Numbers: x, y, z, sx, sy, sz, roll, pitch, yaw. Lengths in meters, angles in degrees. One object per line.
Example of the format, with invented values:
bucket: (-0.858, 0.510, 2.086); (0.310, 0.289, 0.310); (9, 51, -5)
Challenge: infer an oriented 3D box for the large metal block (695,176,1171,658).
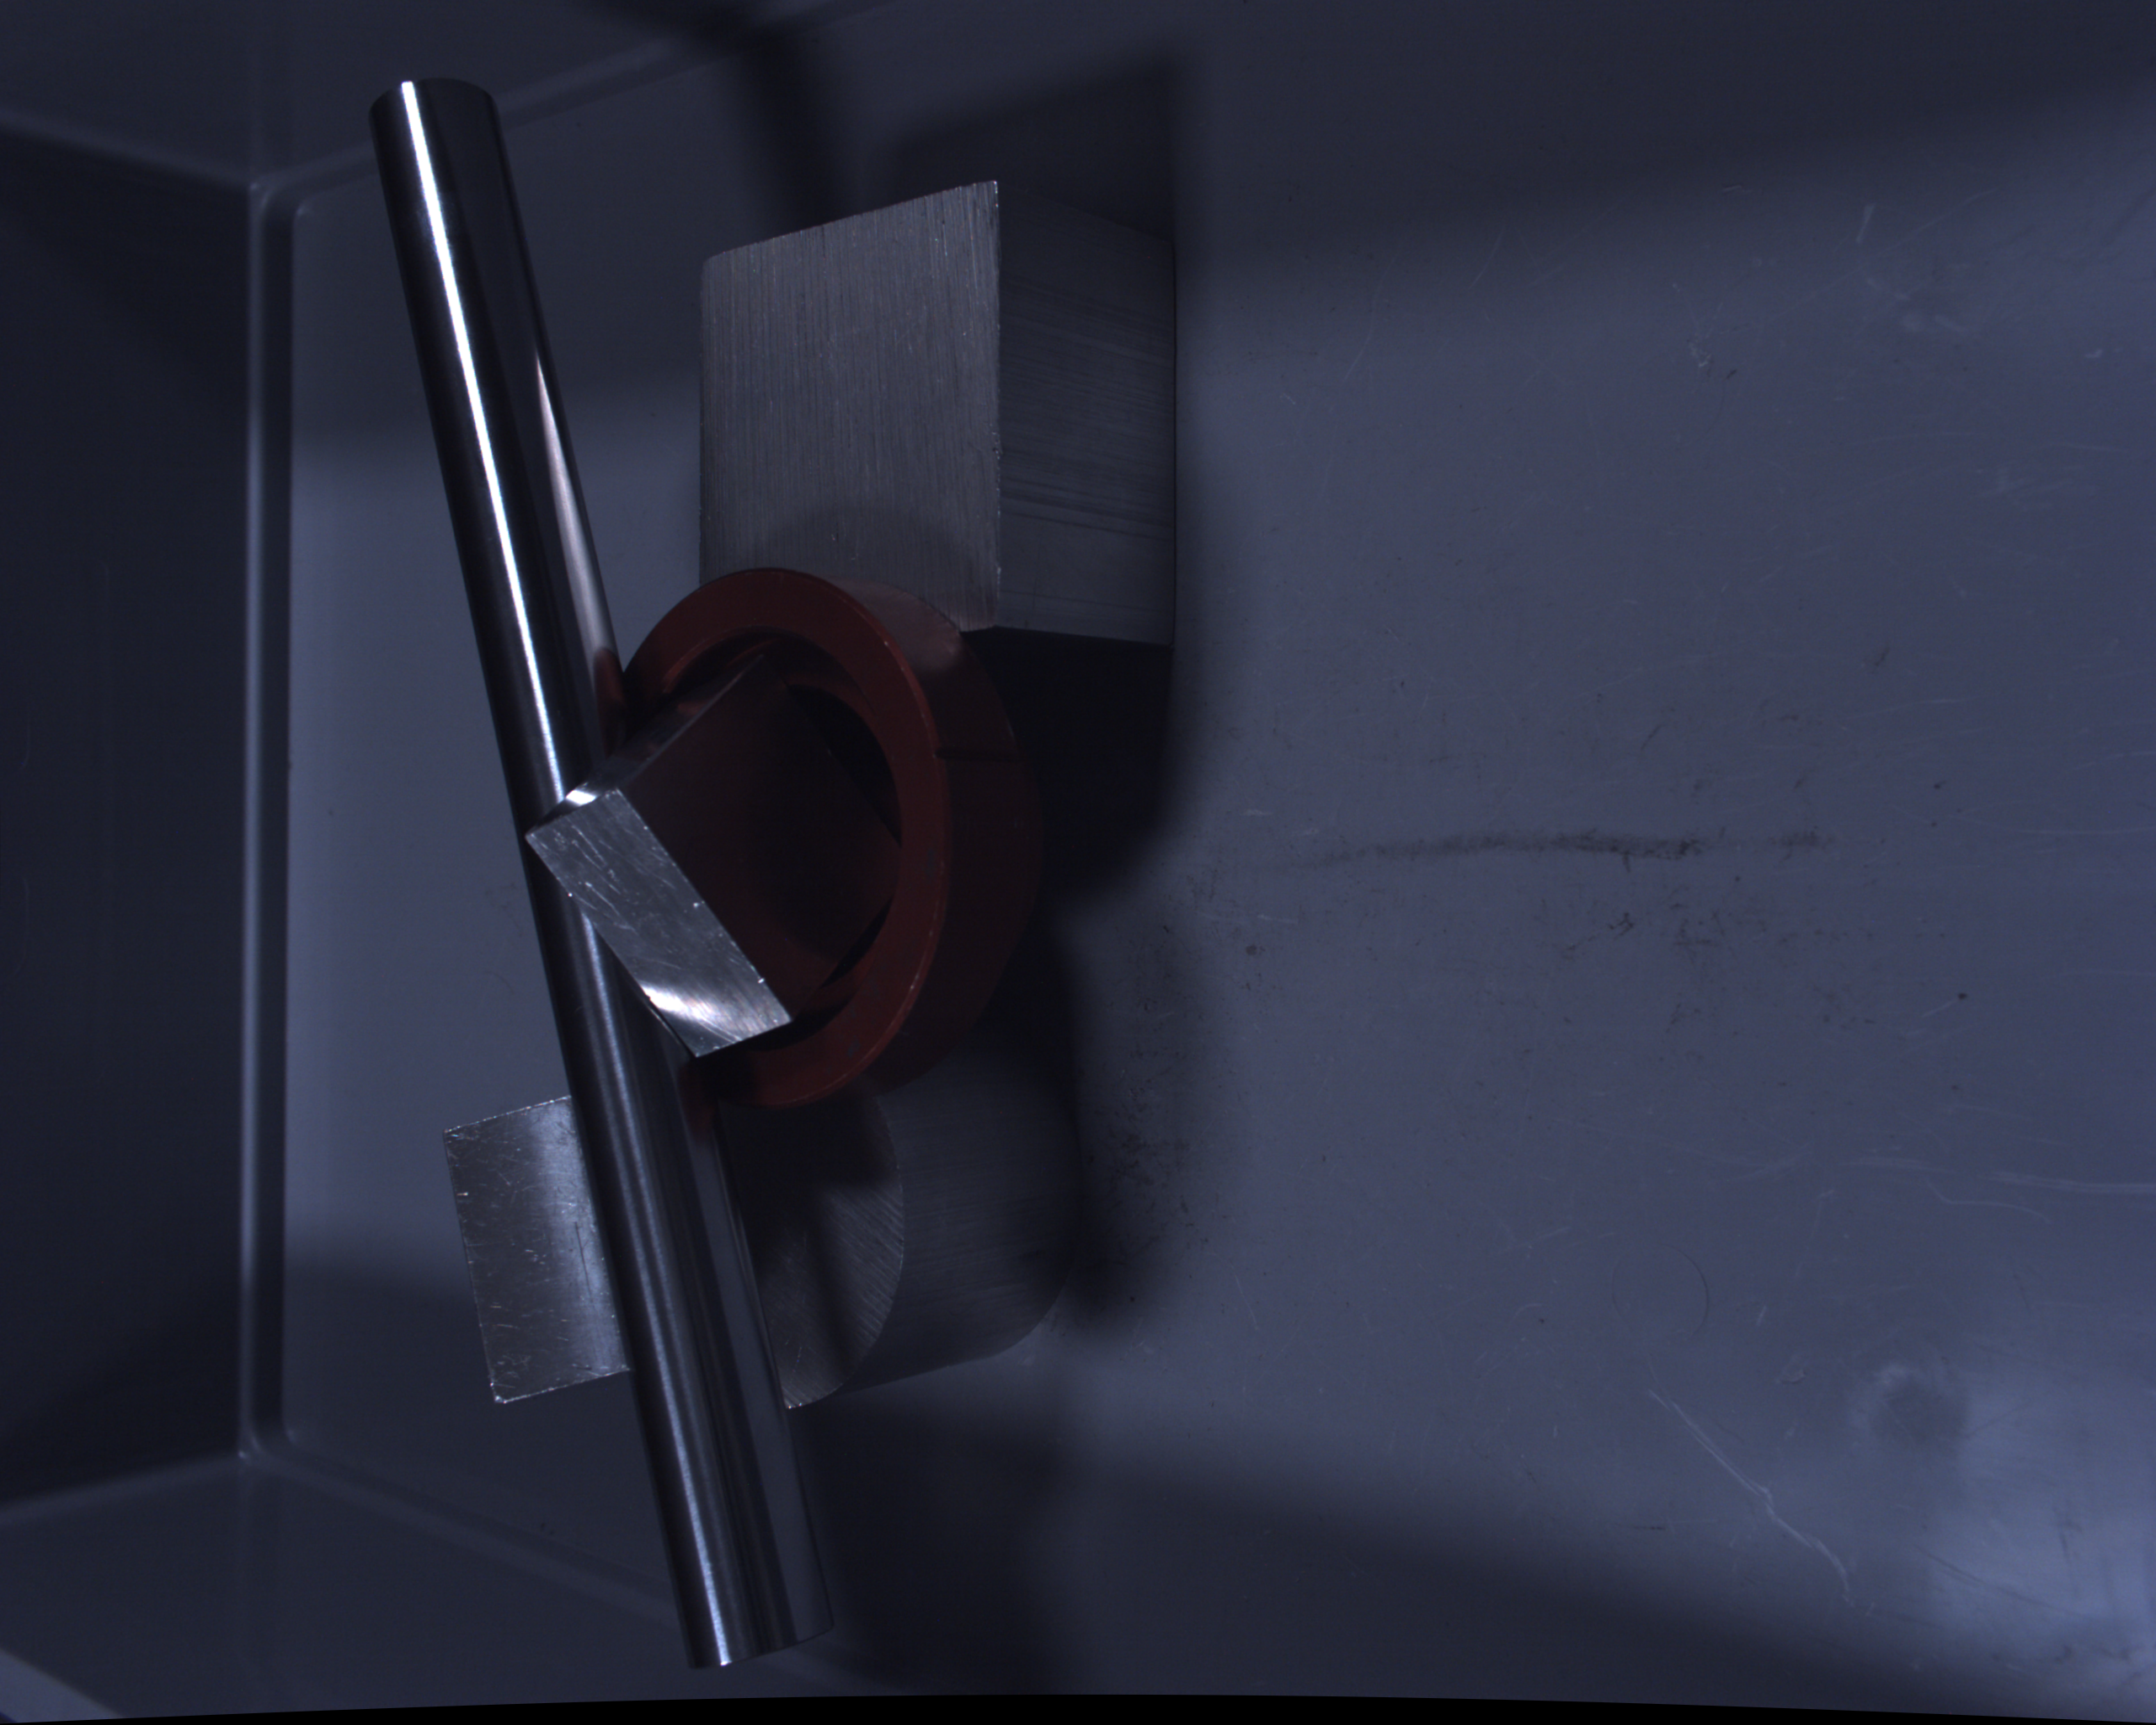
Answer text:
large metal block: (-0.029, -0.080, 0.409); (0.080, 0.050, 0.079); (0, 90, 39)

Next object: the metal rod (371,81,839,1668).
metal rod: (-0.091, -0.008, 0.387); (0.025, 0.025, 0.299); (-24, 75, 37)

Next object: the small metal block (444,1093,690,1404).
small metal block: (-0.093, 0.073, 0.395); (0.025, 0.050, 0.050); (-15, 78, 5)

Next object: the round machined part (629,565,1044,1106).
round machined part: (-0.045, -0.005, 0.391); (0.098, 0.042, 0.097); (0, 90, 39)

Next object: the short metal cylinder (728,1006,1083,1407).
short metal cylinder: (-0.046, 0.066, 0.425); (0.080, 0.050, 0.079); (0, 90, 39)

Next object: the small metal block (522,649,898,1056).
small metal block: (-0.063, -0.002, 0.375); (0.025, 0.050, 0.050); (-22, 111, 34)
